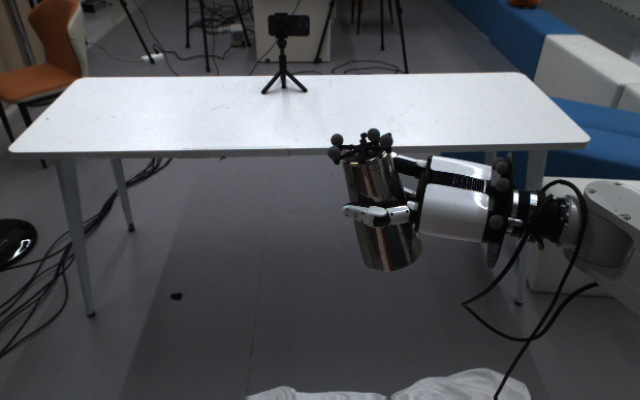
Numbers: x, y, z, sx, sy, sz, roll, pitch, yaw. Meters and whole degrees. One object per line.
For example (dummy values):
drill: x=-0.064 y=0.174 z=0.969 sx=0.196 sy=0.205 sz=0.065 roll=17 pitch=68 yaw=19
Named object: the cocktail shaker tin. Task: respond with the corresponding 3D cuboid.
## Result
cocktail shaker tin: x=0.085 y=0.007 z=0.690 sx=0.093 sy=0.170 sz=0.093 roll=-15 pitch=29 yaw=8
